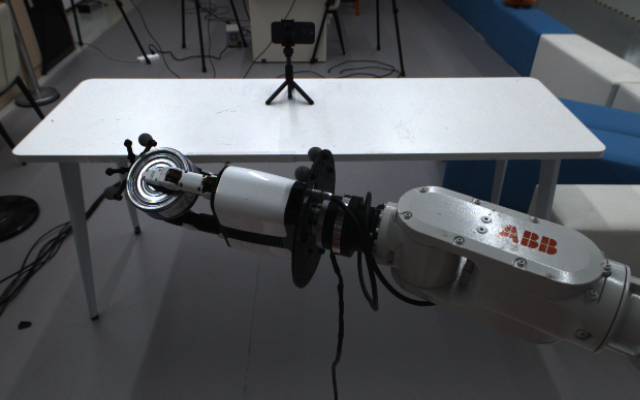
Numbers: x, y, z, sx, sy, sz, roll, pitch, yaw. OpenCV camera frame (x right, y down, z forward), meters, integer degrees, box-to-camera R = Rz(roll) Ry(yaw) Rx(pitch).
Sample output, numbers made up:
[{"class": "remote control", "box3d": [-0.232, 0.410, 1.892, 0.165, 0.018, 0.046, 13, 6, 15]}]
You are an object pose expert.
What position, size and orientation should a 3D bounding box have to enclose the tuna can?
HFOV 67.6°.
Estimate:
[{"class": "tuna can", "box3d": [-0.191, -0.021, 0.596, 0.085, 0.034, 0.085, -3, 70, 9]}]
